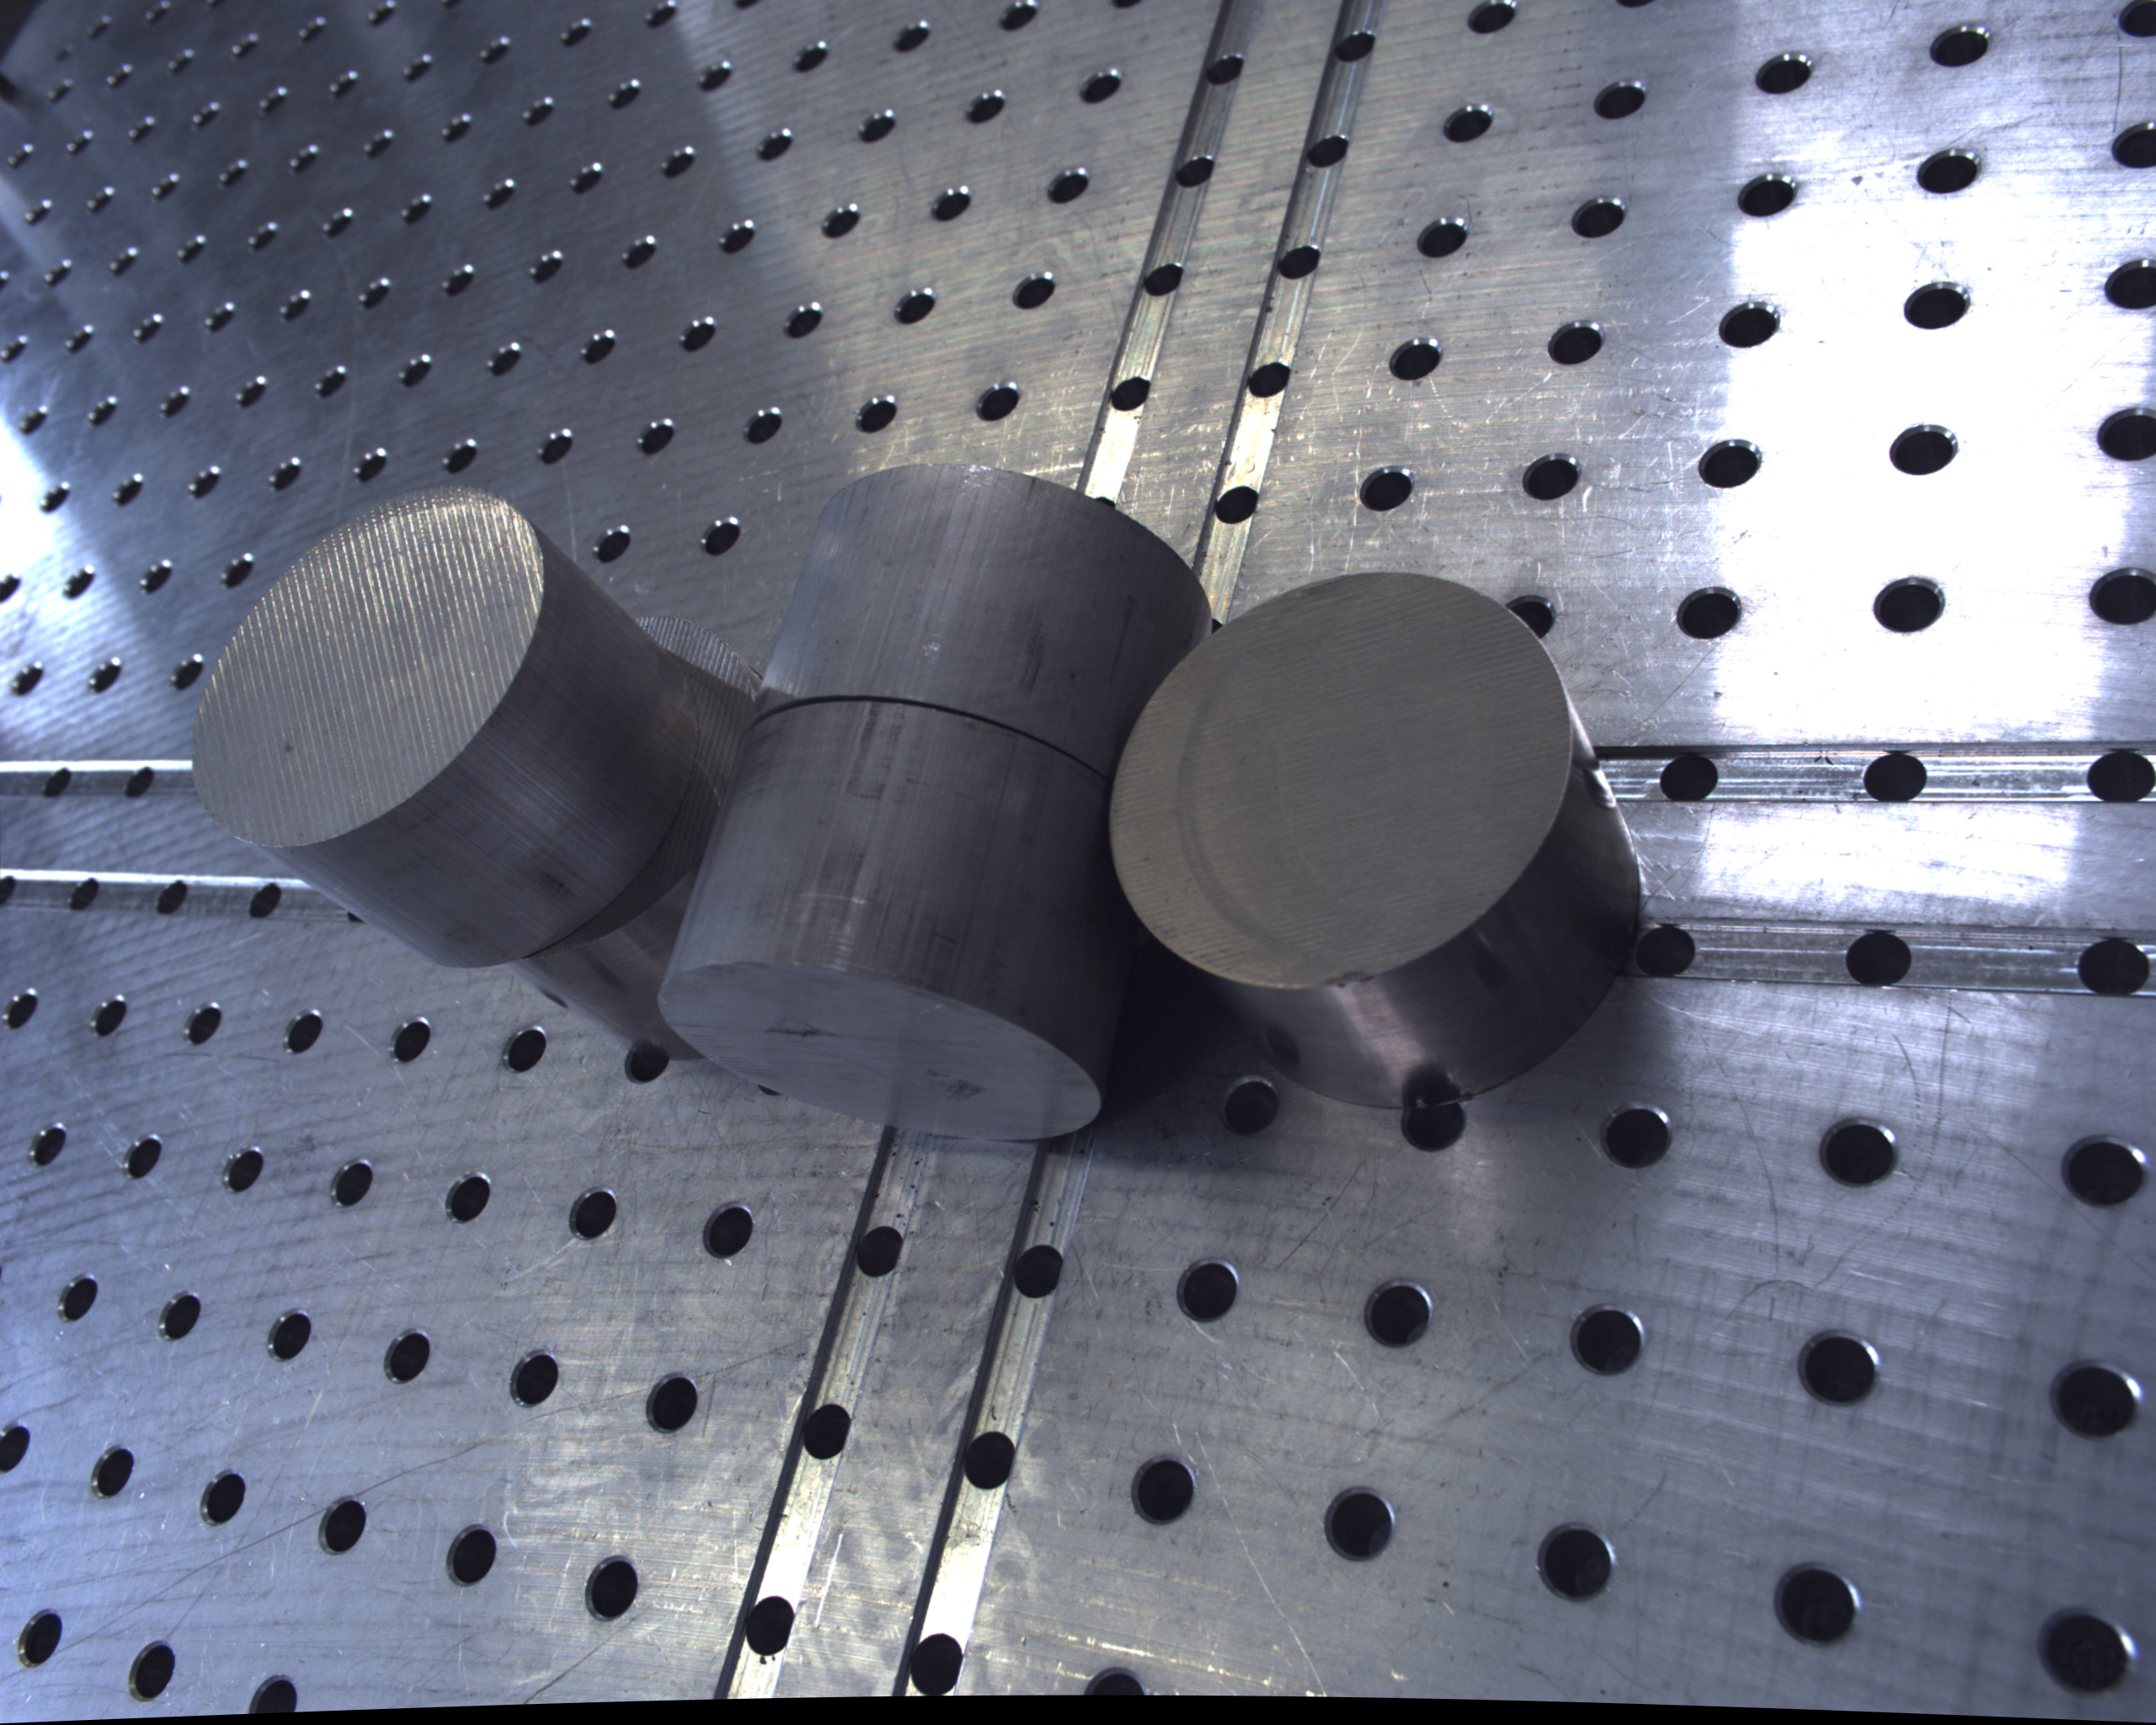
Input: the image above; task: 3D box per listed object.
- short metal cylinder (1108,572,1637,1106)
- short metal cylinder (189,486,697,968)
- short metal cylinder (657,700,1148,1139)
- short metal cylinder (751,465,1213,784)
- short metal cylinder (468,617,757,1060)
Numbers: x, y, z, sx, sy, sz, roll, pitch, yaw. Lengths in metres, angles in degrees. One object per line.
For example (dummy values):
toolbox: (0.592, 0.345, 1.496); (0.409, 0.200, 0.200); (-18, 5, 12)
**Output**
short metal cylinder: (0.052, -0.004, 0.366); (0.080, 0.050, 0.080); (-13, 56, 21)
short metal cylinder: (-0.123, -0.026, 0.406); (0.080, 0.050, 0.080); (-13, 56, 21)
short metal cylinder: (-0.030, 0.013, 0.381); (0.080, 0.080, 0.050); (-1, 62, 28)
short metal cylinder: (-0.019, -0.032, 0.403); (0.080, 0.080, 0.050); (1, 63, 29)
short metal cylinder: (-0.089, -0.005, 0.442); (0.080, 0.050, 0.080); (-13, 56, 21)
